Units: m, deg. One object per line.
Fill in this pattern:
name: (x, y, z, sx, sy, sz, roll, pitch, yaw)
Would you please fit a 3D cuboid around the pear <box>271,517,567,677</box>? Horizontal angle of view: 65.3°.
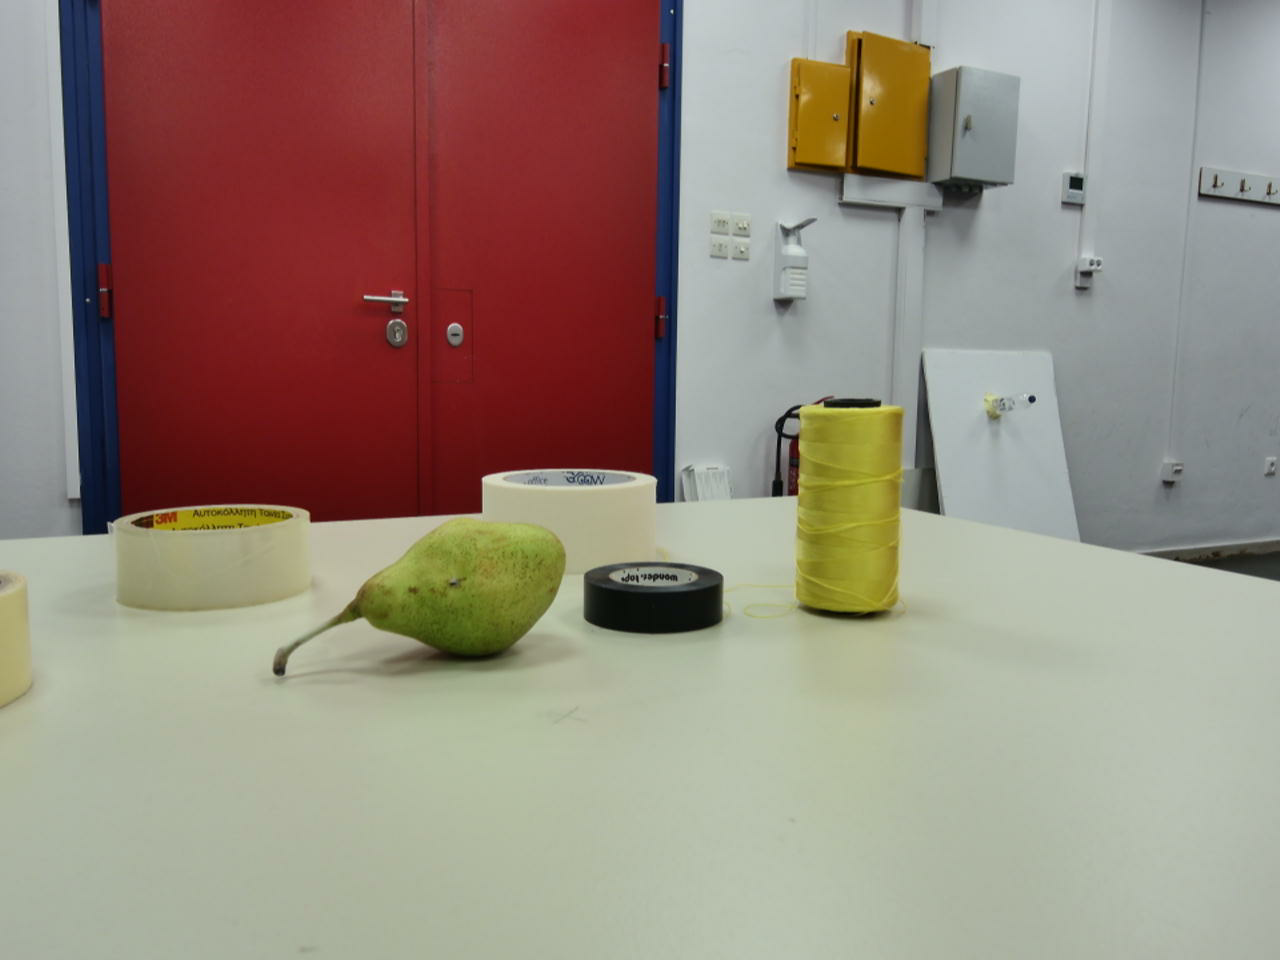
pear: (-0.086, 0.044, 0.404, 0.111, 0.056, 0.056, -1, 4, -11)
